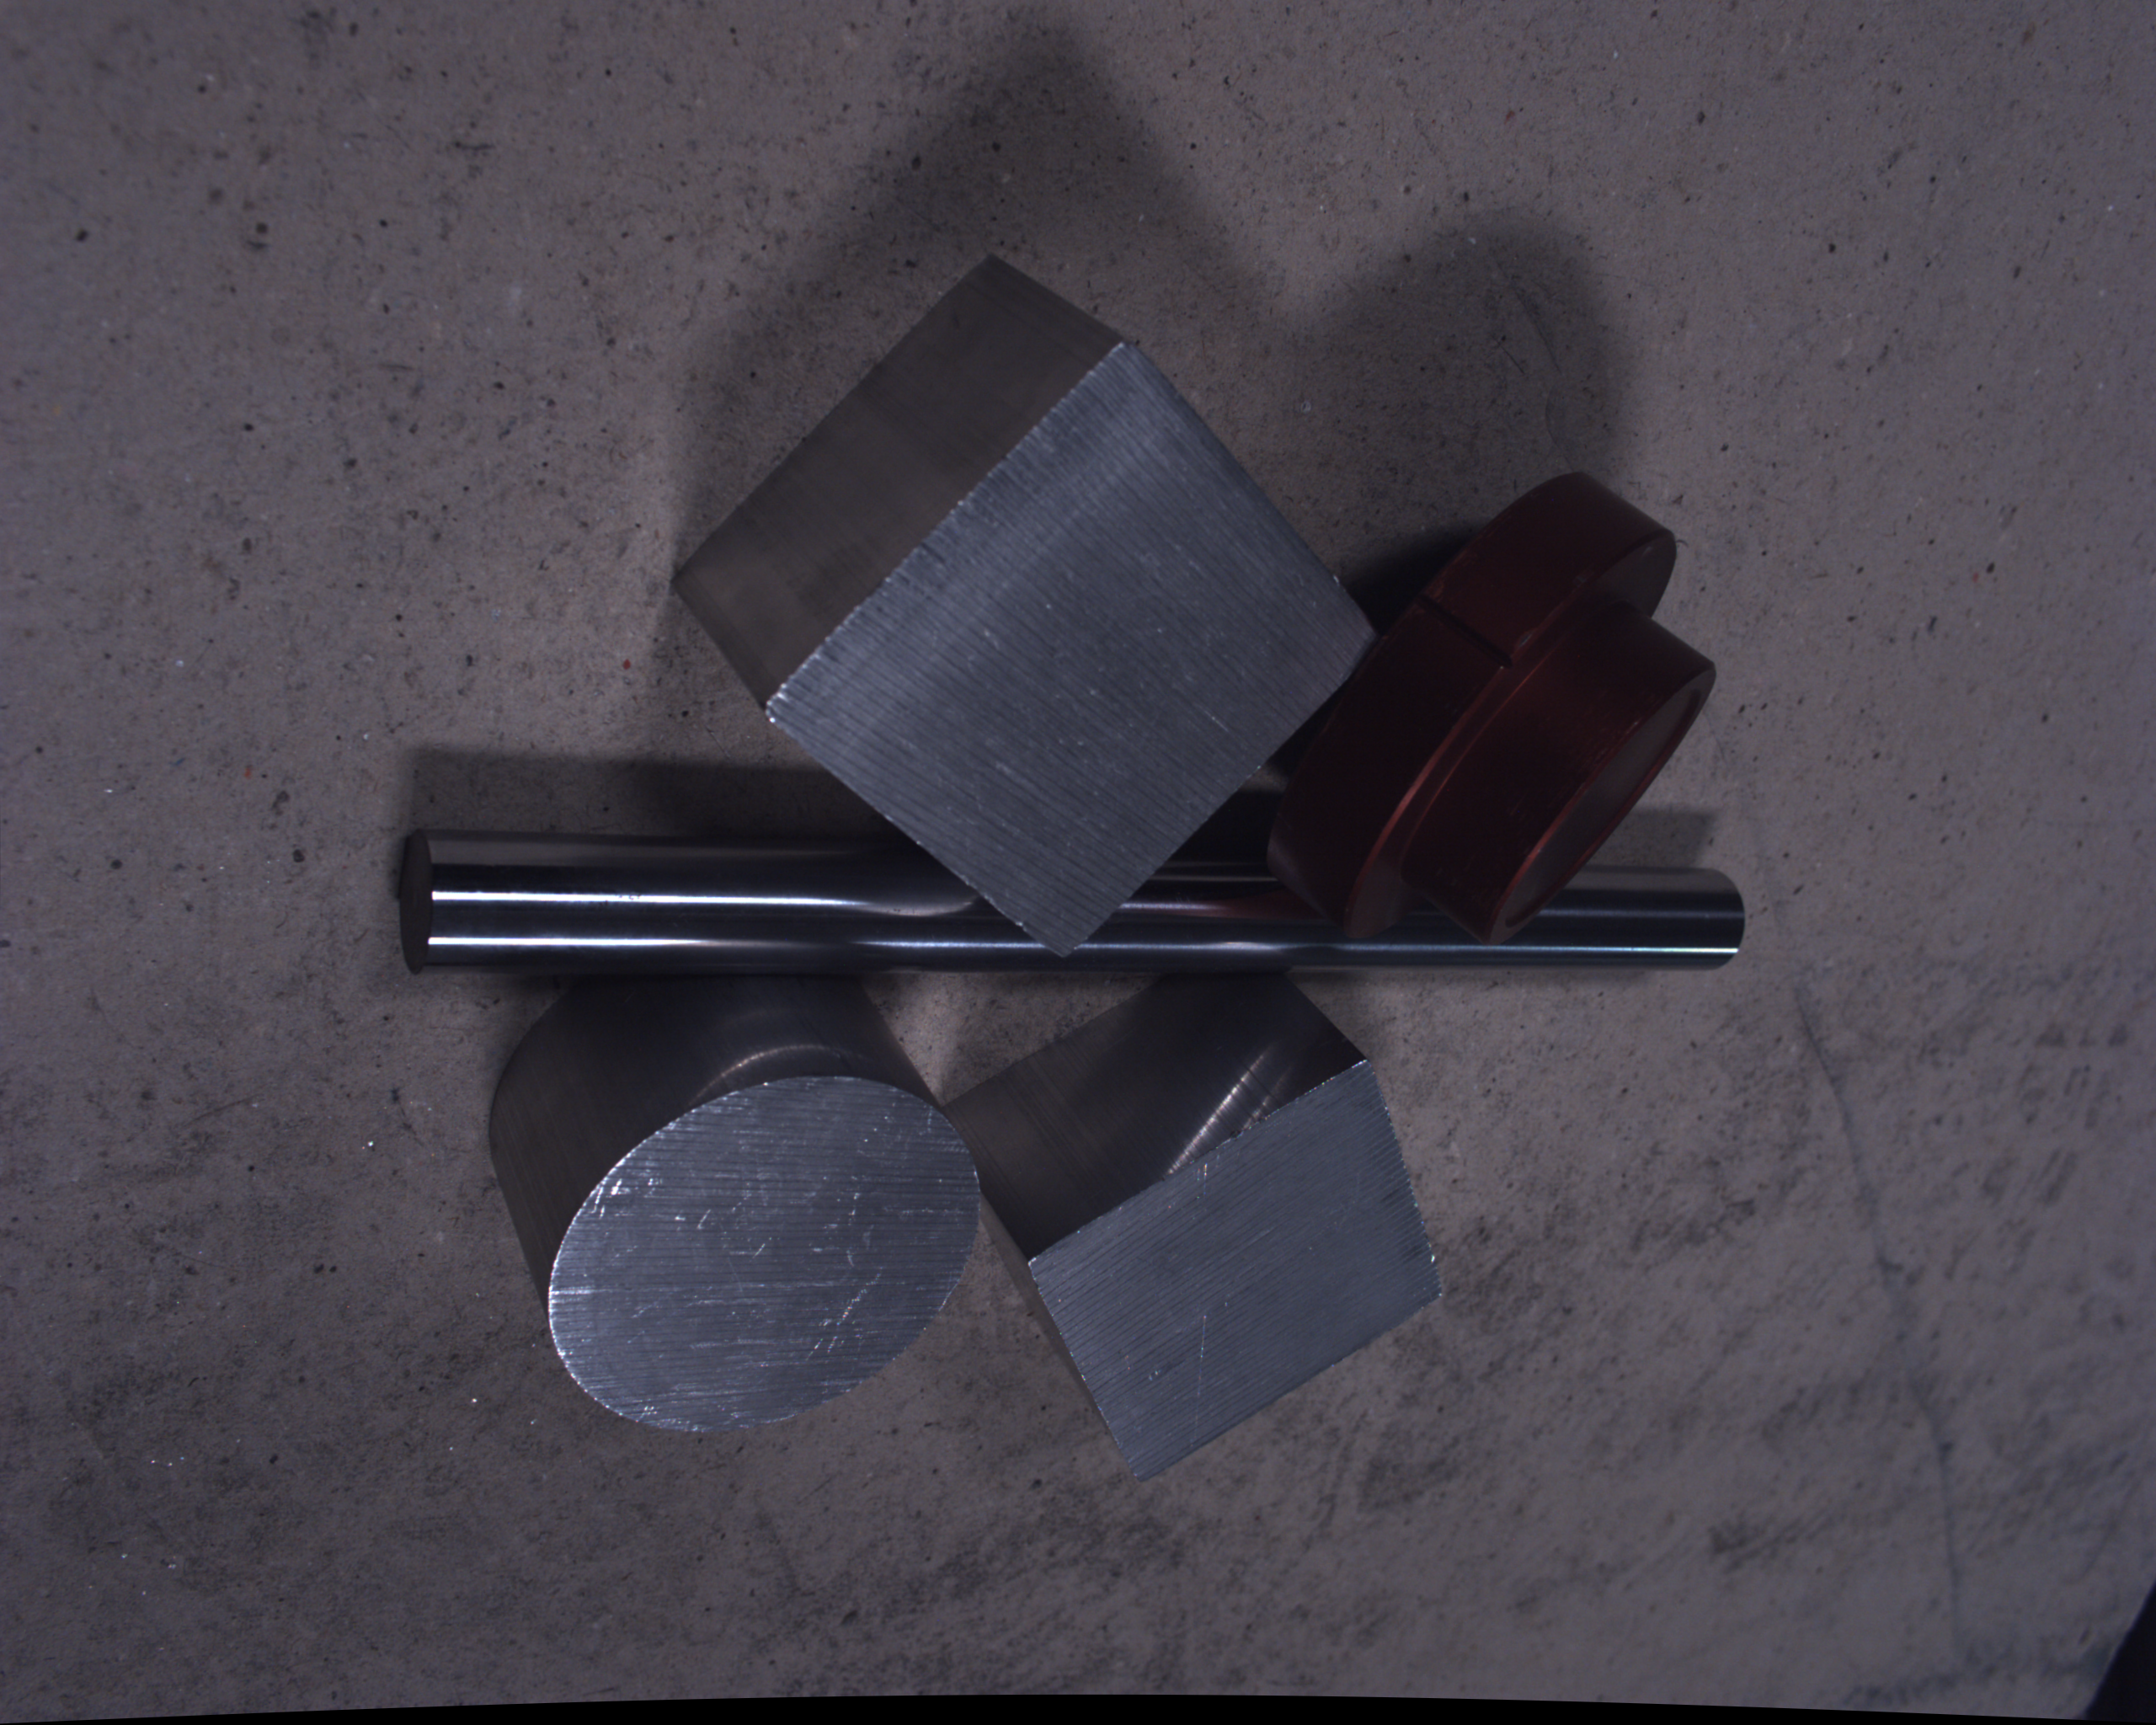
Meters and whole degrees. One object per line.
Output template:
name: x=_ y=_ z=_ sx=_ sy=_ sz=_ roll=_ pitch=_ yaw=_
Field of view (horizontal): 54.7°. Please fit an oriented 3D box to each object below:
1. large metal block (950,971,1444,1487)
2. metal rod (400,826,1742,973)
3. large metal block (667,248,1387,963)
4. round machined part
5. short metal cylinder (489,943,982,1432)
large metal block: x=0.025 y=0.075 z=0.454 sx=0.080 sy=0.050 sz=0.080 roll=-29 pitch=129 yaw=-10
metal rod: x=0.019 y=0.010 z=0.428 sx=0.303 sy=0.025 sz=0.025 roll=2 pitch=118 yaw=-30
large metal block: x=-0.008 y=-0.043 z=0.360 sx=0.080 sy=0.050 sz=0.080 roll=-45 pitch=130 yaw=3
round machined part: x=0.084 y=-0.023 z=0.401 sx=0.098 sy=0.042 sz=0.098 roll=-41 pitch=159 yaw=-19
short metal cylinder: x=-0.065 y=0.060 z=0.395 sx=0.081 sy=0.050 sz=0.079 roll=-14 pitch=125 yaw=-21
